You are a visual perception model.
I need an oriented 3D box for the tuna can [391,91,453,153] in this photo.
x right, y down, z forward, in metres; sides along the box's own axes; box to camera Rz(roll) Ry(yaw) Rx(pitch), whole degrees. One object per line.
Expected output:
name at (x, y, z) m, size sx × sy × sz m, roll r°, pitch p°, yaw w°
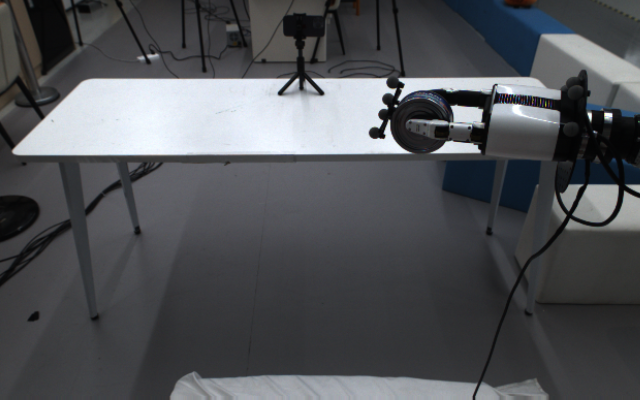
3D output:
tuna can at (0.146, -0.112, 0.692) m, size 0.085 × 0.085 × 0.034 m, roll 12°, pitch 30°, yaw 14°
